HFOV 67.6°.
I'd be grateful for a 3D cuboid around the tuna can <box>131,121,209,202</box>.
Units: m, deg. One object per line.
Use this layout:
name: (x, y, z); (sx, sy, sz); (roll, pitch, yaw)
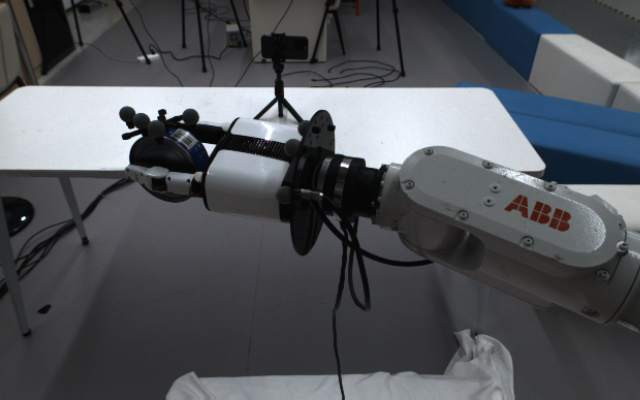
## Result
tuna can: (-0.170, -0.042, 0.556); (0.085, 0.085, 0.034); (11, 33, 12)
